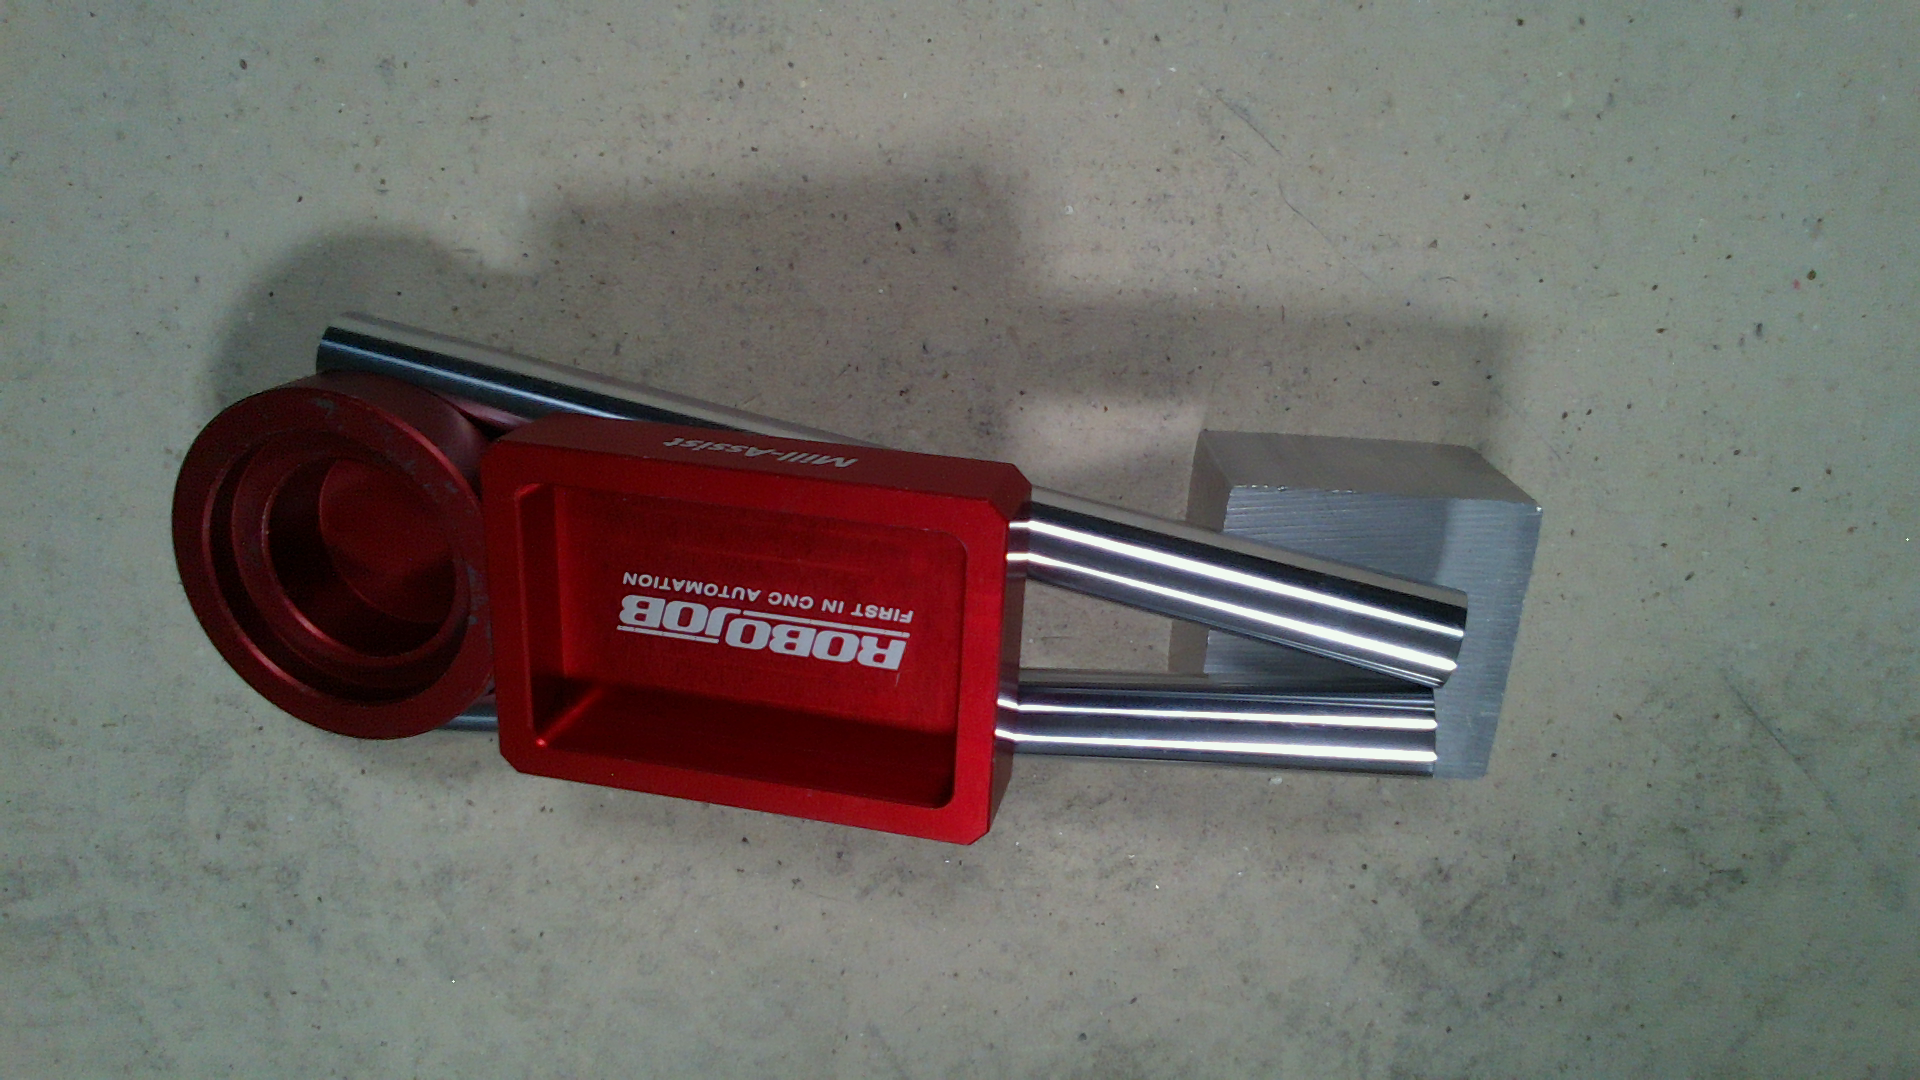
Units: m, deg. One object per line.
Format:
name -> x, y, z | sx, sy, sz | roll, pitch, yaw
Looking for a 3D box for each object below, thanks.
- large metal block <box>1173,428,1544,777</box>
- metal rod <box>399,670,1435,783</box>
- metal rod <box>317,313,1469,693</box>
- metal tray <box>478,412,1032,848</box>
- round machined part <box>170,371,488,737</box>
large metal block -> 0.106, 0.016, 0.386 | 0.080, 0.050, 0.080 | 3, 110, -1
metal rod -> -0.029, 0.047, 0.377 | 0.299, 0.025, 0.025 | 0, 111, 13
metal rod -> -0.024, -0.013, 0.355 | 0.300, 0.025, 0.025 | 15, 110, 8
metal tray -> -0.051, 0.021, 0.344 | 0.130, 0.030, 0.090 | 7, 111, 11
round machined part -> -0.159, 0.001, 0.379 | 0.098, 0.042, 0.098 | 3, 110, 10
